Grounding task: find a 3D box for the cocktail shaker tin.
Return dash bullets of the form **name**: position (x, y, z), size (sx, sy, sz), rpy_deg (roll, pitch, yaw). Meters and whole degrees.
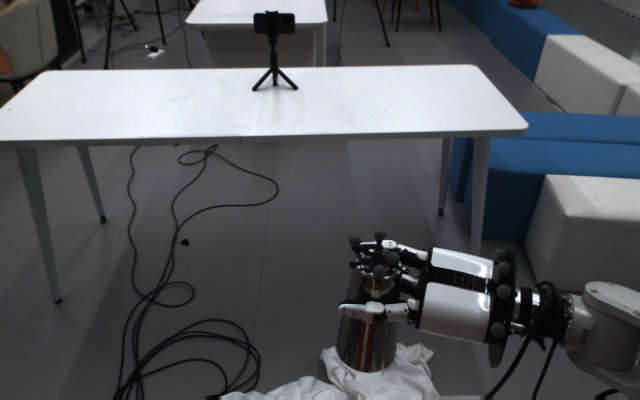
- **cocktail shaker tin**: position (0.076, 0.153, 0.699), size (0.093, 0.170, 0.093), rpy_deg (3, 33, -2)
